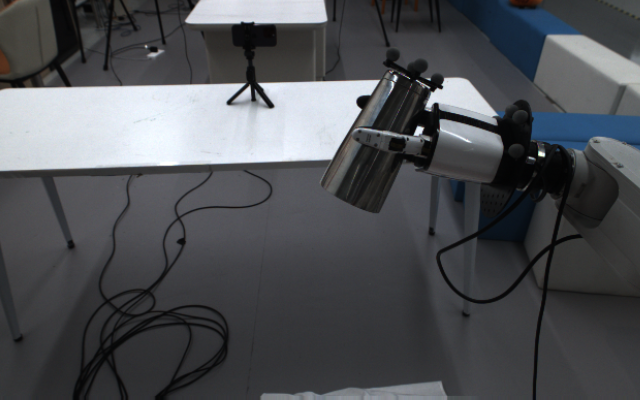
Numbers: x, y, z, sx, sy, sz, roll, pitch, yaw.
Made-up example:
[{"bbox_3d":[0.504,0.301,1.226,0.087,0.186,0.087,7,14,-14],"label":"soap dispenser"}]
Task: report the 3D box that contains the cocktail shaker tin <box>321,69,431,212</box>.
[{"bbox_3d":[0.079,-0.081,0.639,0.093,0.170,0.093,24,12,-6],"label":"cocktail shaker tin"}]
